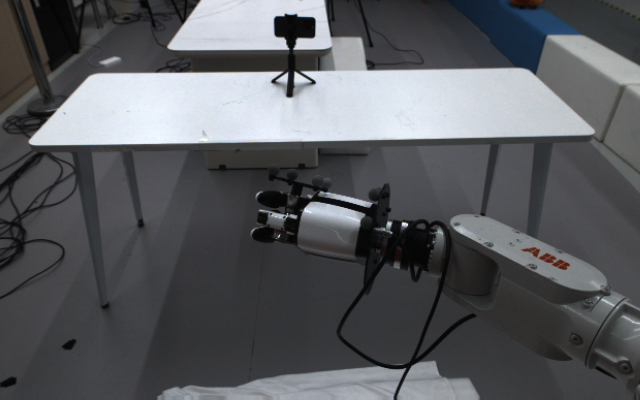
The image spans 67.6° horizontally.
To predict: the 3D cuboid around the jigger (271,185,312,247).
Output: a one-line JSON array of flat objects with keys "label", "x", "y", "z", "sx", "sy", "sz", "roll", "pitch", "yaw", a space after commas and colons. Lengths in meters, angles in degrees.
[{"label": "jigger", "x": -0.040, "y": 0.026, "z": 0.710, "sx": 0.043, "sy": 0.071, "sz": 0.043, "roll": 14, "pitch": 1, "yaw": 0}]
